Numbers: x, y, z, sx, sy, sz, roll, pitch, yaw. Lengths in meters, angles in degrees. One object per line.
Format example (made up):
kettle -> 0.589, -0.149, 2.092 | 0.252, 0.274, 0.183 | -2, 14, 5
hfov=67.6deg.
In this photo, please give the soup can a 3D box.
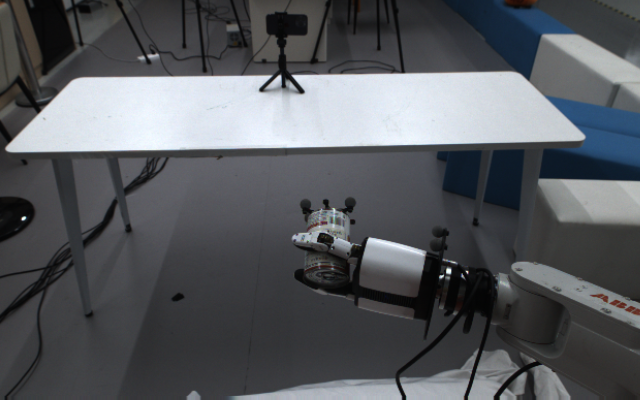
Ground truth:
soup can -> 0.012, 0.071, 0.713 | 0.067, 0.067, 0.101 | 3, 57, 1
